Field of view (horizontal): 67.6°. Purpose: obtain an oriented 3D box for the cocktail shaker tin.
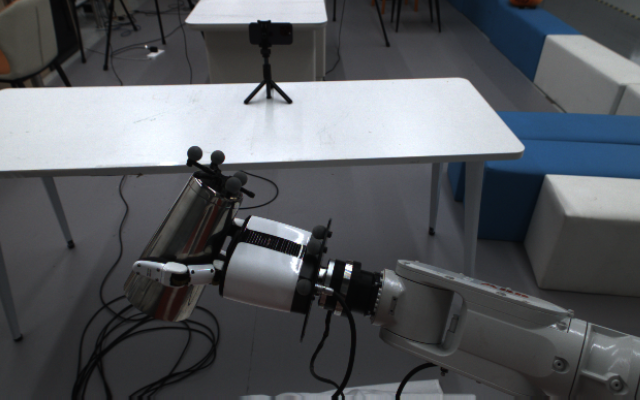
[{"bbox_3d":[-0.160,0.050,0.591,0.093,0.170,0.093,28,14,-7],"label":"cocktail shaker tin"}]
